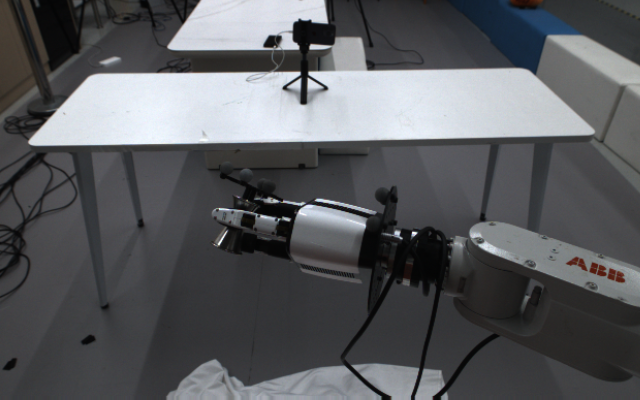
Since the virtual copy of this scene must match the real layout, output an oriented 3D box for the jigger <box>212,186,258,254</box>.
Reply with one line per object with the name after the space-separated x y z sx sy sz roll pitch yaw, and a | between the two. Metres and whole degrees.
-0.108 0.030 0.617 0.043 0.071 0.043 24 -2 1 | jigger
